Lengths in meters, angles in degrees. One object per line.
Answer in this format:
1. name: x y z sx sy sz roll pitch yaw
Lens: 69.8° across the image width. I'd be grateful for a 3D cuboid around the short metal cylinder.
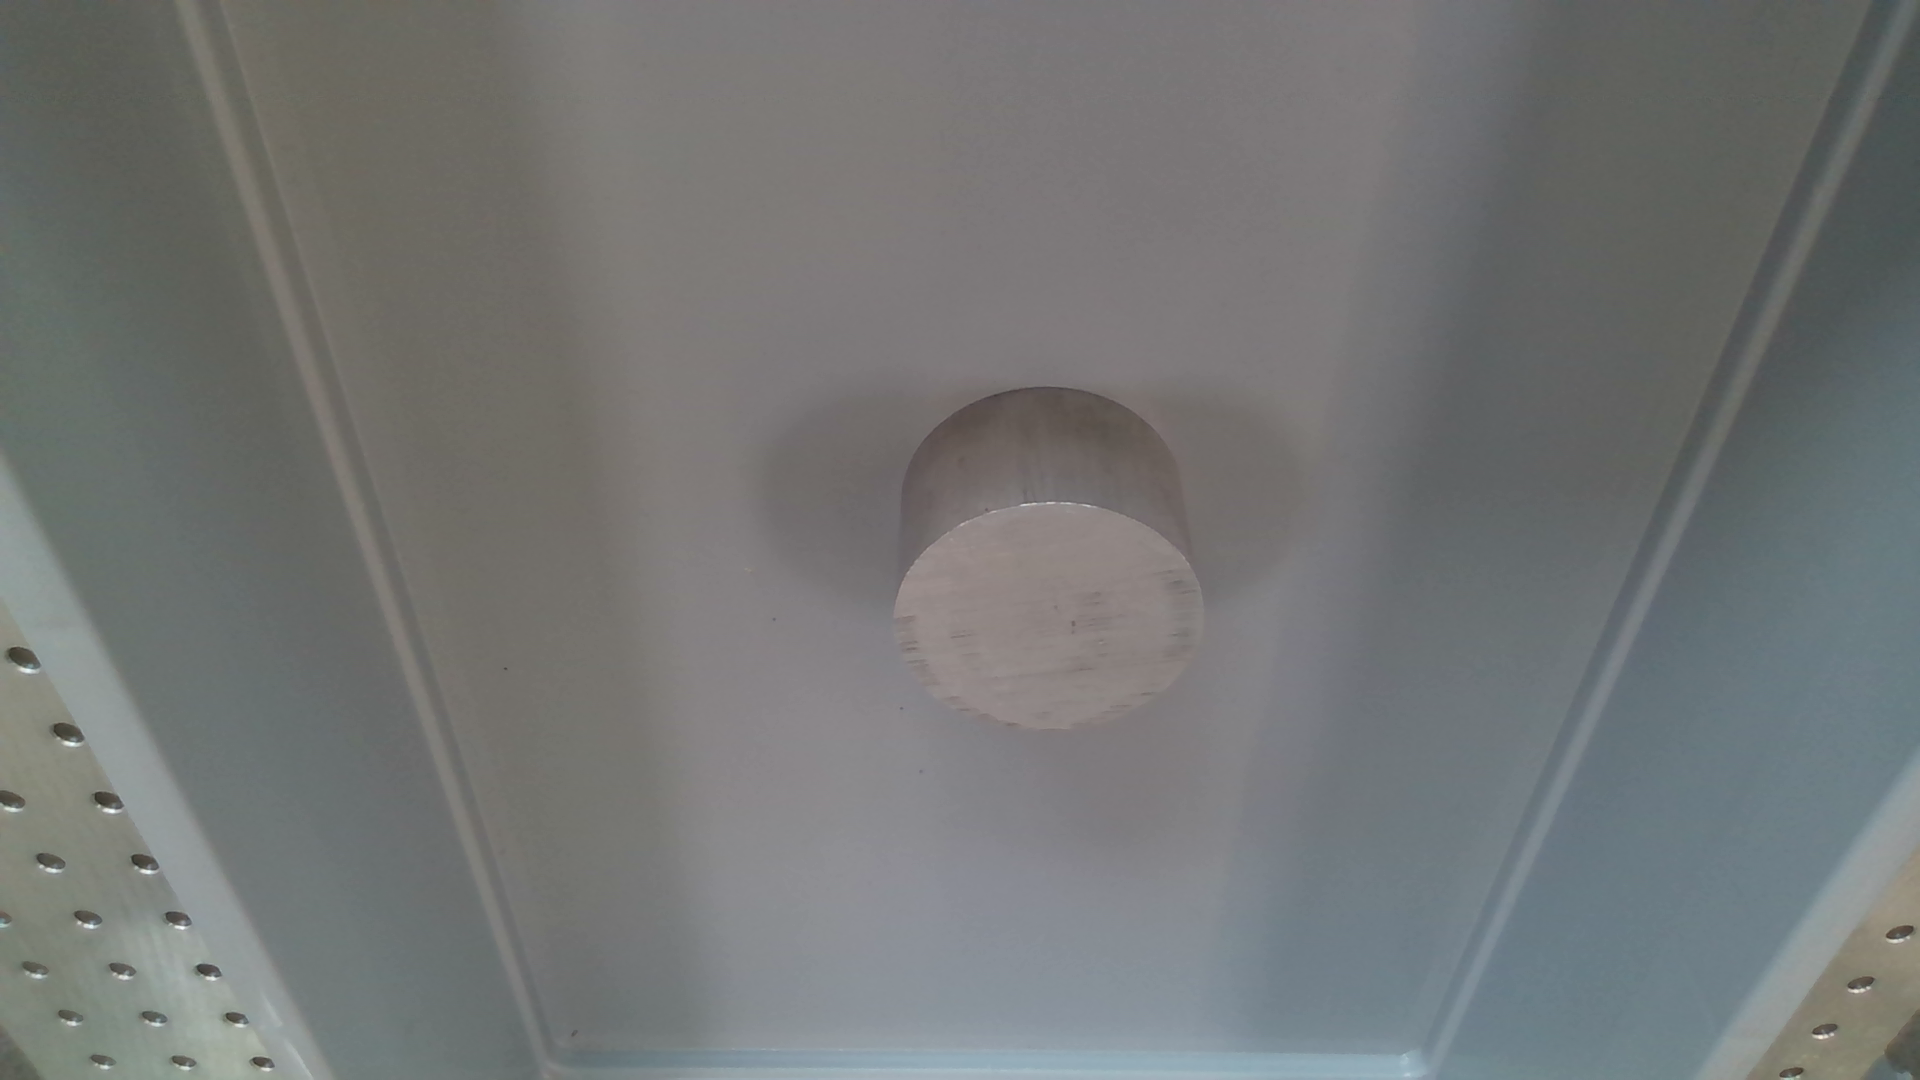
1. short metal cylinder: 0.023 0.005 0.374 0.080 0.050 0.080 0 130 0
